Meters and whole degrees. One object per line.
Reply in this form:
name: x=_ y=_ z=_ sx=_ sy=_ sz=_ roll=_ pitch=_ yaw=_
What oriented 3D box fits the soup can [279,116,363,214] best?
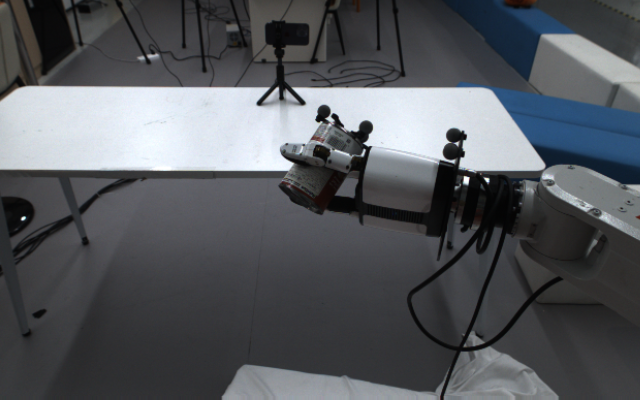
soup can: x=0.003 y=-0.042 z=0.624 sx=0.067 sy=0.067 sz=0.101 roll=27 pitch=78 yaw=31
